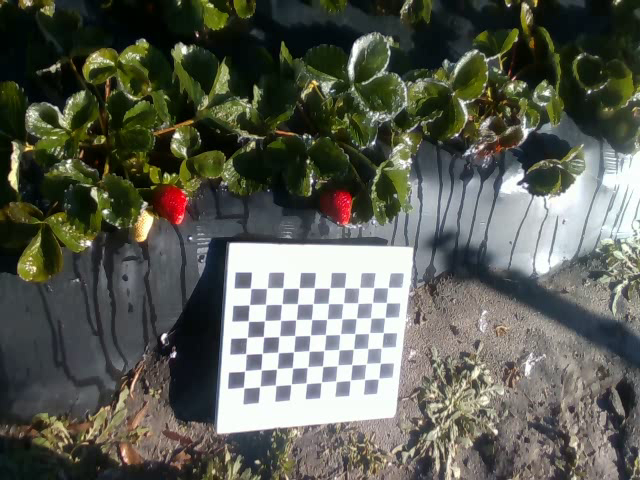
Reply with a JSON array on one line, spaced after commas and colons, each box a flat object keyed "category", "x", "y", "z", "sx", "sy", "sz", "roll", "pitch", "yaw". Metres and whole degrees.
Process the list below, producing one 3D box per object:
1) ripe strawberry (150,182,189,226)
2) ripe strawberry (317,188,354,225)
[{"category": "ripe strawberry", "x": -0.184, "y": -0.038, "z": 0.798, "sx": 0.042, "sy": 0.061, "sz": 0.046, "roll": -13, "pitch": -27, "yaw": -19}, {"category": "ripe strawberry", "x": 0.029, "y": -0.044, "z": 0.878, "sx": 0.048, "sy": 0.061, "sz": 0.044, "roll": -6, "pitch": -20, "yaw": -21}]
